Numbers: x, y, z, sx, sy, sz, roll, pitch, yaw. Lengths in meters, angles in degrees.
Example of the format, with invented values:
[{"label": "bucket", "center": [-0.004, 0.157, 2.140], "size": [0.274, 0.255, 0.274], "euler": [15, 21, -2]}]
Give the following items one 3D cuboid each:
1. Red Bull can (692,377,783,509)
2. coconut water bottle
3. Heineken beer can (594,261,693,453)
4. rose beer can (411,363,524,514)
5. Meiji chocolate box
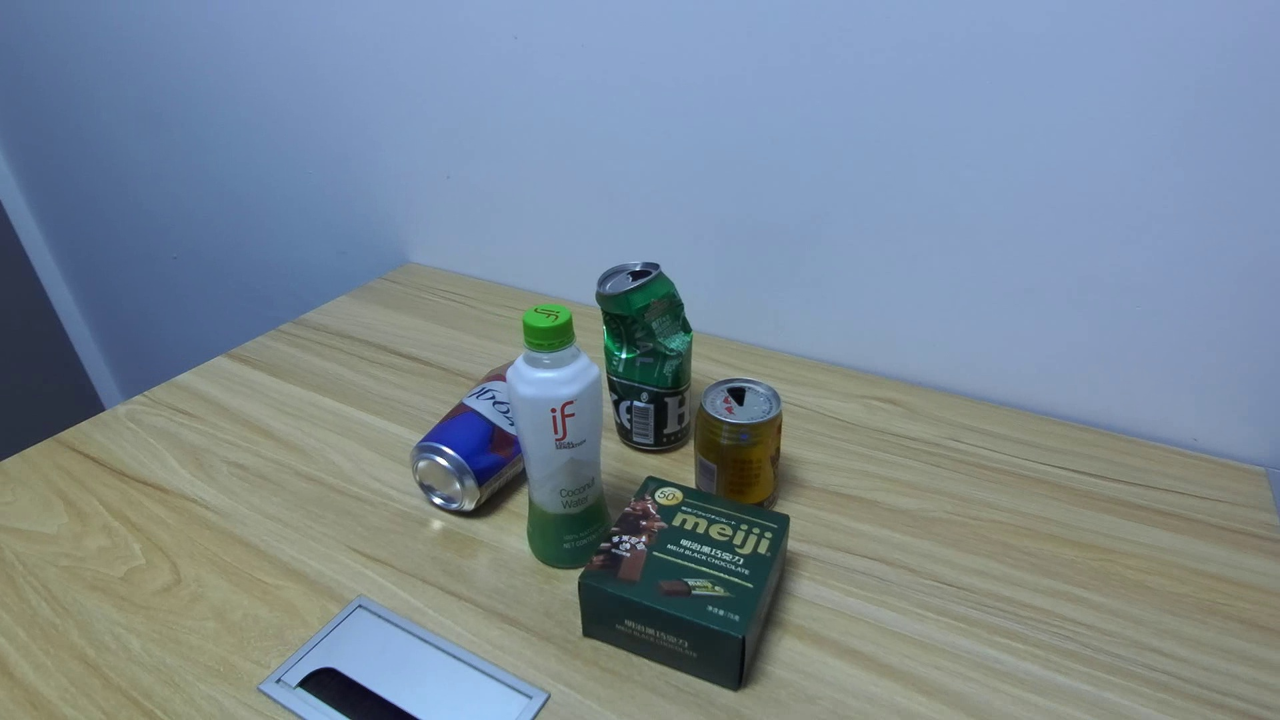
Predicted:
[{"label": "Red Bull can", "center": [0.075, 0.068, 0.541], "size": [0.069, 0.092, 0.069], "euler": [0, 30, 1]}, {"label": "coconut water bottle", "center": [-0.054, 0.053, 0.480], "size": [0.063, 0.189, 0.063], "euler": [-1, 31, 1]}, {"label": "Heineken beer can", "center": [0.008, -0.001, 0.599], "size": [0.078, 0.159, 0.067], "euler": [-6, 26, 7]}, {"label": "rose beer can", "center": [-0.117, 0.056, 0.602], "size": [0.069, 0.069, 0.168], "euler": [-10, 23, 35]}, {"label": "Meiji chocolate box", "center": [0.032, 0.141, 0.464], "size": [0.109, 0.056, 0.109], "euler": [13, 34, 21]}]
